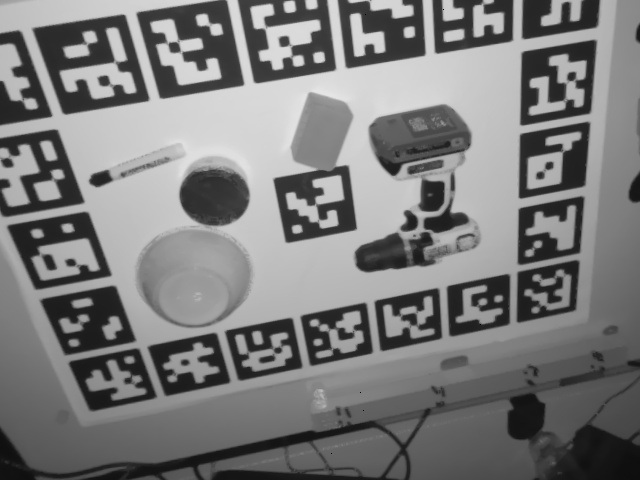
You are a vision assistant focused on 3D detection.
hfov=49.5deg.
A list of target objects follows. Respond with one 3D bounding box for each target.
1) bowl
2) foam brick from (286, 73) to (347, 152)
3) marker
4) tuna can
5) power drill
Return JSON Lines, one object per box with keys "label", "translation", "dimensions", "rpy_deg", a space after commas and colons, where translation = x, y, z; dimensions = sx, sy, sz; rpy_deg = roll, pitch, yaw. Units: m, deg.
{"label": "bowl", "translation": [-0.171, 0.042, 0.914], "dimensions": [0.163, 0.055, 0.160], "rpy_deg": [-7, 126, -9]}
{"label": "foam brick", "translation": [-0.005, -0.153, 0.832], "dimensions": [0.052, 0.053, 0.077], "rpy_deg": [12, 115, -13]}
{"label": "marker", "translation": [-0.231, -0.110, 0.829], "dimensions": [0.121, 0.020, 0.019], "rpy_deg": [-18, 118, 2]}
{"label": "tuna can", "translation": [-0.139, -0.077, 0.854], "dimensions": [0.086, 0.034, 0.085], "rpy_deg": [-3, 119, -5]}
{"label": "power drill", "translation": [0.125, -0.075, 0.889], "dimensions": [0.185, 0.058, 0.186], "rpy_deg": [-10, 122, 0]}
